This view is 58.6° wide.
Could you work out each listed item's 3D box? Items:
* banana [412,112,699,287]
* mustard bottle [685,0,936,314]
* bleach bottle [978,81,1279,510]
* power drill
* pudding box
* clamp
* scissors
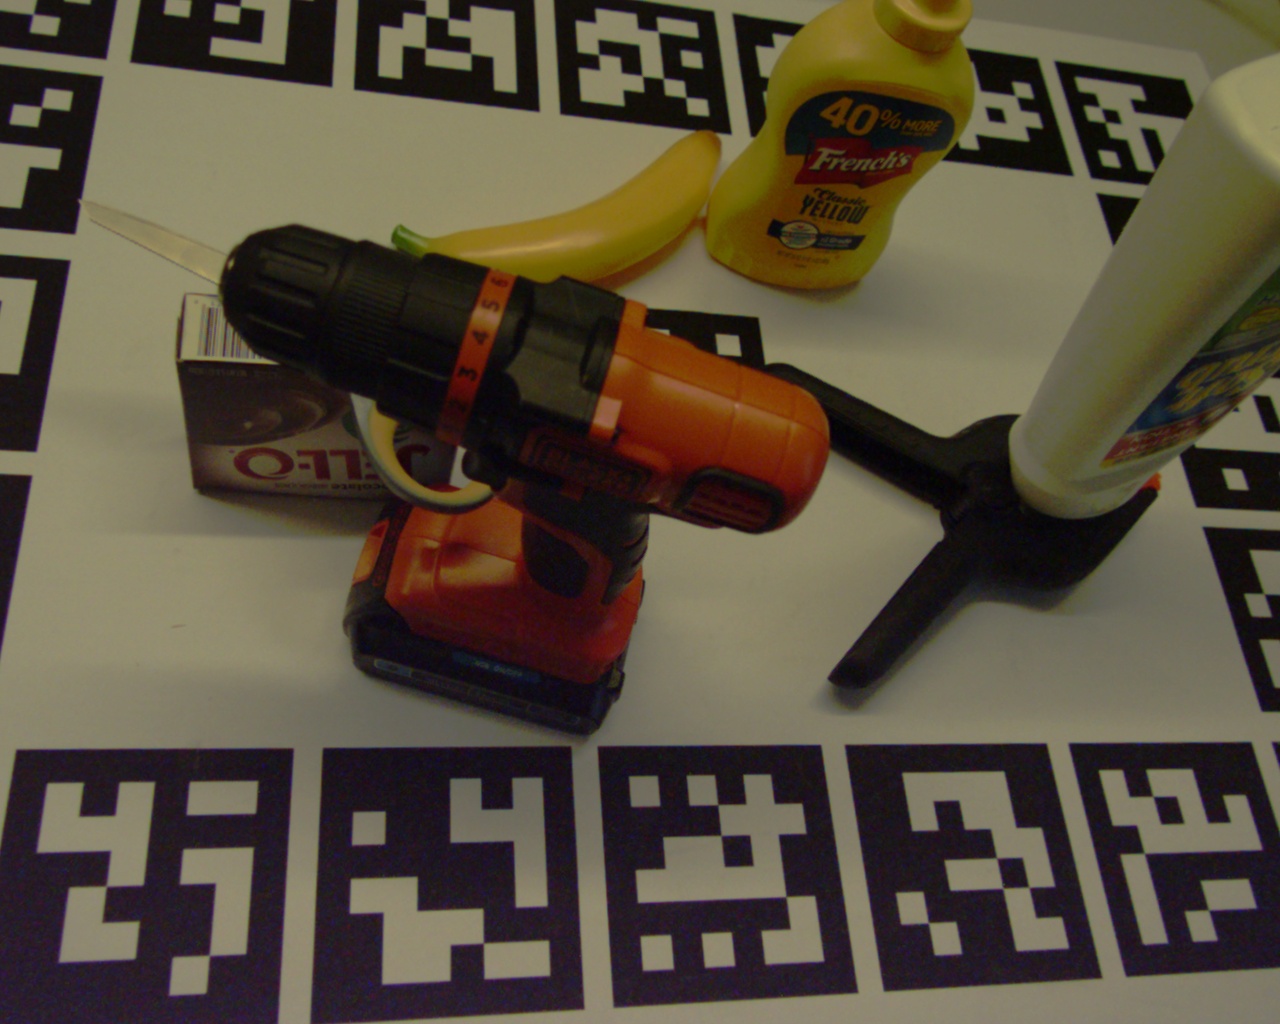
[{"bbox_3d":[-0.026,-0.169,0.622,0.075,0.039,0.196,38,60,25],"label":"banana"},{"bbox_3d":[0.095,-0.180,0.584,0.096,0.192,0.058,16,61,-9],"label":"mustard bottle"},{"bbox_3d":[0.222,-0.071,0.507,0.102,0.250,0.068,-18,66,-15],"label":"bleach bottle"},{"bbox_3d":[-0.057,-0.001,0.418,0.184,0.187,0.057,13,55,-5],"label":"power drill"},{"bbox_3d":[-0.139,-0.046,0.508,0.113,0.090,0.039,6,56,-12],"label":"pudding box"},{"bbox_3d":[0.164,-0.012,0.583,0.201,0.037,0.166,-4,67,-18],"label":"clamp"},{"bbox_3d":[-0.132,-0.081,0.453,0.202,0.016,0.087,27,64,-6],"label":"scissors"}]
